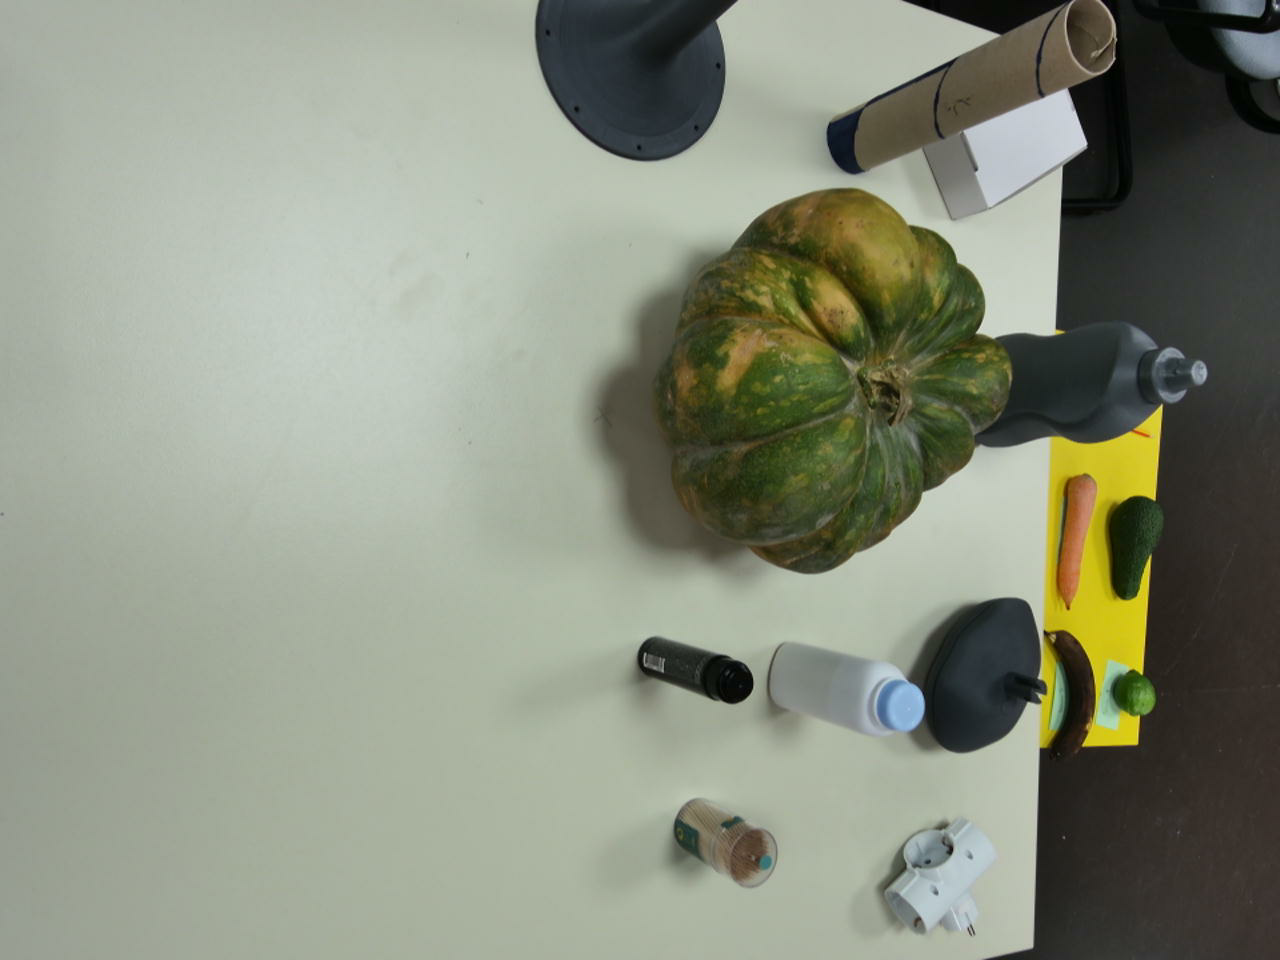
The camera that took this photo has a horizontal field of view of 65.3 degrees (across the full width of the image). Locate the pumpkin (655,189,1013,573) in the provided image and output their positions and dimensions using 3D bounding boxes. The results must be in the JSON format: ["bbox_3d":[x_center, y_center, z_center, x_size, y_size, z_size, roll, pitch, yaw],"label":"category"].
[{"bbox_3d":[0.132,-0.066,0.691,0.237,0.173,0.270,44,71,-22],"label":"pumpkin"}]
